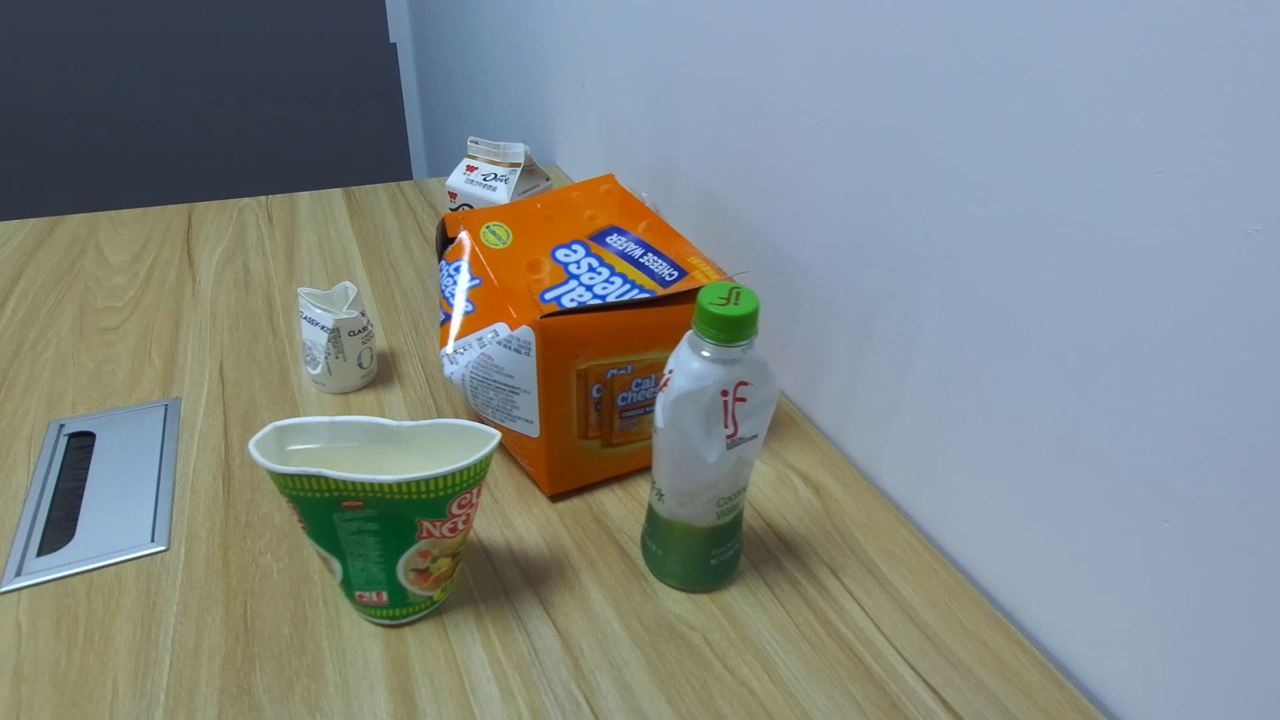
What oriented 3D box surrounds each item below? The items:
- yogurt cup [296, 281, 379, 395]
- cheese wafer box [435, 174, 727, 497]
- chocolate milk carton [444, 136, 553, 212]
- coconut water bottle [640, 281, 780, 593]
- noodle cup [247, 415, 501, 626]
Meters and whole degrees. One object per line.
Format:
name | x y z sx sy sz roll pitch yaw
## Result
yogurt cup | -0.239 -0.017 0.560 0.055 0.072 0.054 -7 37 -19
cheese wafer box | -0.056 -0.032 0.535 0.192 0.145 0.218 -15 40 -25
chocolate milk carton | -0.131 -0.138 0.673 0.075 0.148 0.074 20 38 21
coconut water bottle | 0.037 0.046 0.391 0.067 0.187 0.067 3 36 -2
noodle cup | -0.139 0.084 0.389 0.115 0.111 0.070 13 37 13
